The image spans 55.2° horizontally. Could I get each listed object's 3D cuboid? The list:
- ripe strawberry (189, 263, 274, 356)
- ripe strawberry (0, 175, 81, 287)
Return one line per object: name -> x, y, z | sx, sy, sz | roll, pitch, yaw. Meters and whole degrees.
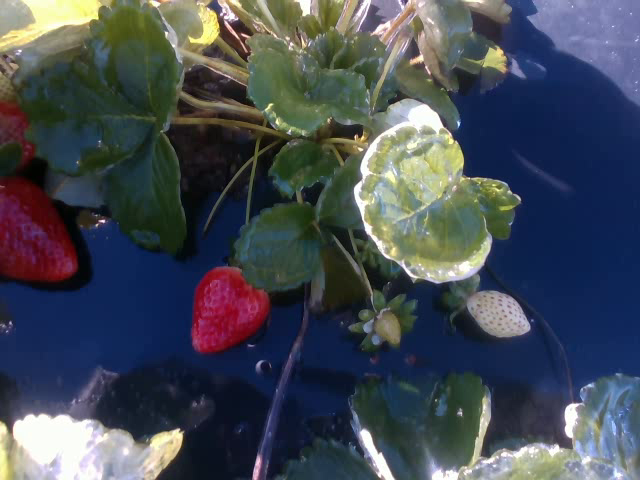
ripe strawberry -> -0.041, 0.033, 0.263 | 0.039, 0.047, 0.040 | 32, -14, -9
ripe strawberry -> -0.129, 0.001, 0.261 | 0.056, 0.044, 0.040 | 43, -5, -8
